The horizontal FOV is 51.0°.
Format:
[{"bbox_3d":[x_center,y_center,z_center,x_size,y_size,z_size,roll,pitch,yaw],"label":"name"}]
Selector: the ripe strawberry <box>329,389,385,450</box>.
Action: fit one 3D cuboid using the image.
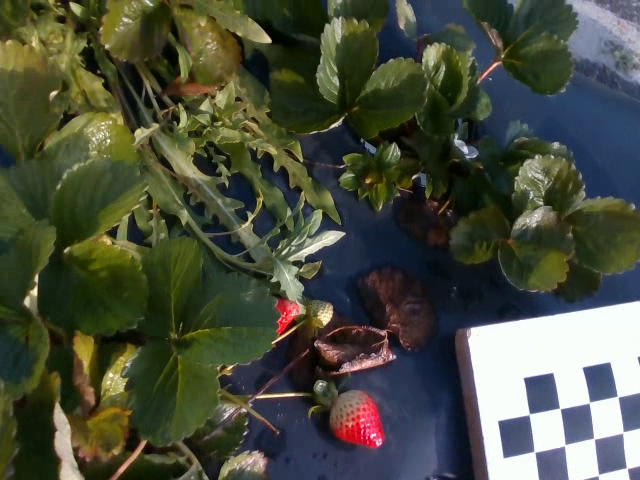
[{"bbox_3d":[0.025,0.114,0.410,0.035,0.043,0.030,-45,0,-19],"label":"ripe strawberry"}]
